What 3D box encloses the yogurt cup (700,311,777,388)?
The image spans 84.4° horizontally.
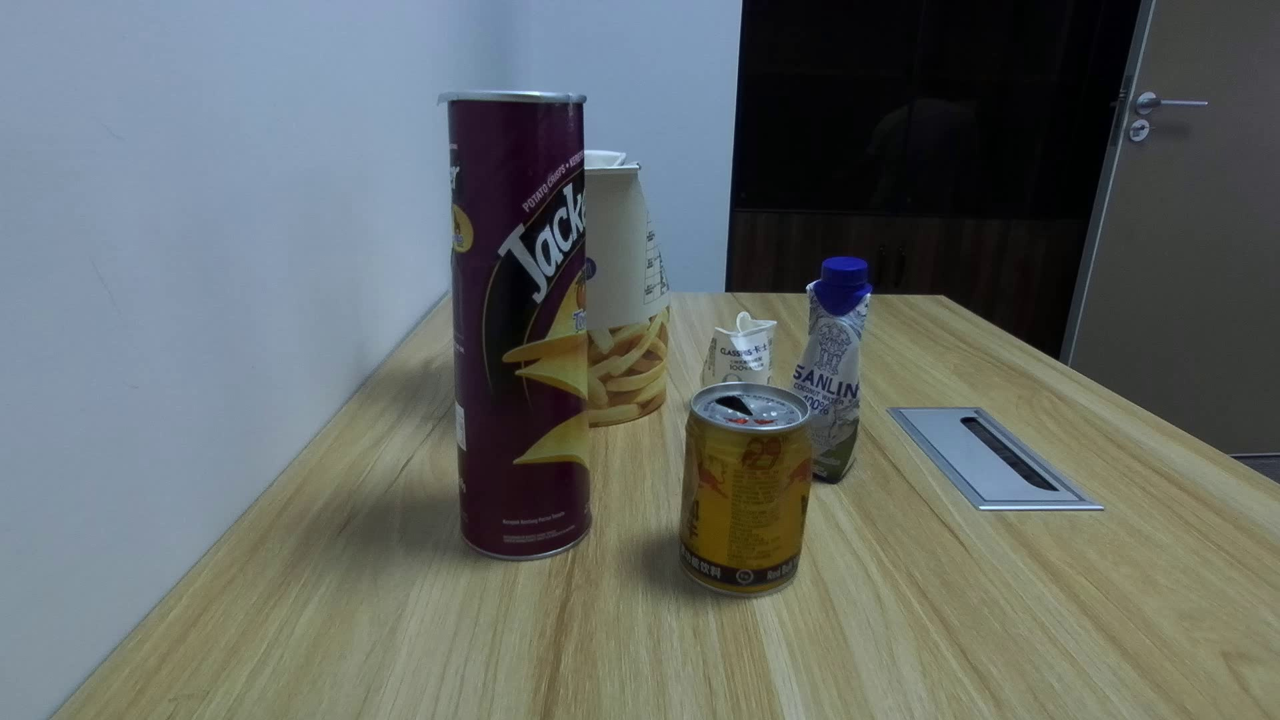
[{"bbox_3d":[0.079,0.004,0.578,0.055,0.072,0.055,-10,23,-32],"label":"yogurt cup"}]

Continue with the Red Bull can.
[{"bbox_3d":[0.055,0.065,0.367,0.068,0.093,0.068,1,19,0],"label":"Red Bull can"}]

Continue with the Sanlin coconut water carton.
[{"bbox_3d":[0.133,0.004,0.476,0.056,0.144,0.069,19,16,23],"label":"Sanlin coconut water carton"}]

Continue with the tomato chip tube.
[{"bbox_3d":[-0.063,-0.015,0.380,0.076,0.234,0.080,12,21,31],"label":"tomato chip tube"}]

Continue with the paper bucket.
[{"bbox_3d":[-0.043,-0.060,0.567,0.170,0.202,0.162,-12,25,-29],"label":"paper bucket"}]
